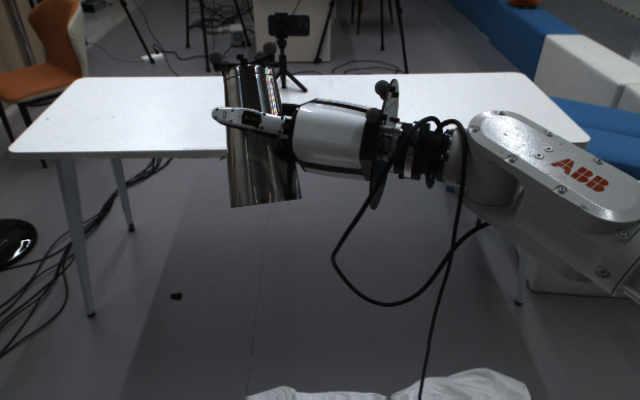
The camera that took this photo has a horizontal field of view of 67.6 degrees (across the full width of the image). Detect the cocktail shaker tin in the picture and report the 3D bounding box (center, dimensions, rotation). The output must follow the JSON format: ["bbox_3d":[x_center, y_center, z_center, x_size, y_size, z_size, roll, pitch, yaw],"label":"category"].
[{"bbox_3d":[-0.080,-0.080,0.620,0.093,0.170,0.093,-8,1,0],"label":"cocktail shaker tin"}]
